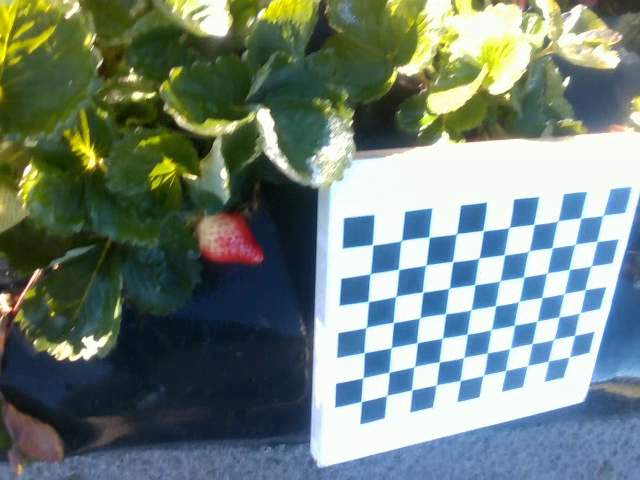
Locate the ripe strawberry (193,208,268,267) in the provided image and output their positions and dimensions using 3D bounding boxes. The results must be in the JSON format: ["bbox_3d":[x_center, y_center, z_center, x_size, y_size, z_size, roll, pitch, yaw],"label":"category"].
[{"bbox_3d":[-0.068,0.007,0.460,0.065,0.040,0.040,37,3,-31],"label":"ripe strawberry"}]
